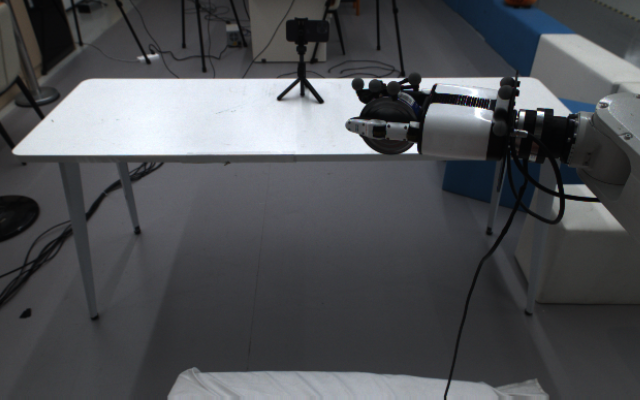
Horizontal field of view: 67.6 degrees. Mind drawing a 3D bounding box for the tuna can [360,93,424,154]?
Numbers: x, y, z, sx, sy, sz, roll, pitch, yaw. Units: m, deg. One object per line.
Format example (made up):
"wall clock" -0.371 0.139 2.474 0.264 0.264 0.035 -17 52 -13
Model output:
"tuna can" 0.102 -0.105 0.676 0.085 0.085 0.034 15 34 17
